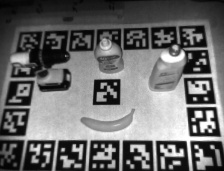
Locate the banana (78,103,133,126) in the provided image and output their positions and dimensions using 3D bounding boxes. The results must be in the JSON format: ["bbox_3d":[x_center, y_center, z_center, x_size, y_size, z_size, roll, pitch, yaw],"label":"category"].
[{"bbox_3d":[-0.022,0.106,0.753,0.197,0.039,0.074,-6,73,6],"label":"banana"}]

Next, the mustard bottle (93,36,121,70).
[{"bbox_3d":[-0.019,-0.117,0.759,0.096,0.192,0.058,-8,70,2],"label":"mustard bottle"}]

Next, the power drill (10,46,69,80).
[{"bbox_3d":[-0.212,-0.081,0.731,0.184,0.188,0.057,-7,70,8],"label":"power drill"}]

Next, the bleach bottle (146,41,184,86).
[{"bbox_3d":[0.165,-0.069,0.691,0.102,0.252,0.068,7,72,9],"label":"bleach bottle"}]
